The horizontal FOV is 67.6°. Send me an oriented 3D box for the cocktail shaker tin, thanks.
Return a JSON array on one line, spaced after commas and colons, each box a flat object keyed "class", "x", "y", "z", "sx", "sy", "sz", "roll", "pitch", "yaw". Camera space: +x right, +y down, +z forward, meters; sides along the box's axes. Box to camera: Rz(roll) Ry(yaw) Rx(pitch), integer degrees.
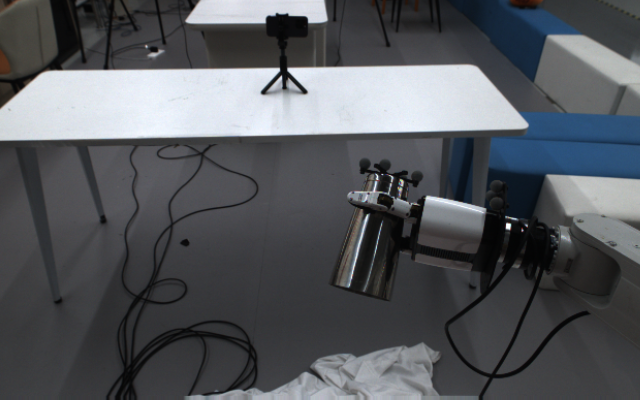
[{"class": "cocktail shaker tin", "x": 0.081, "y": 0.049, "z": 0.703, "sx": 0.093, "sy": 0.093, "sz": 0.170, "roll": 13, "pitch": 77, "yaw": 15}]
